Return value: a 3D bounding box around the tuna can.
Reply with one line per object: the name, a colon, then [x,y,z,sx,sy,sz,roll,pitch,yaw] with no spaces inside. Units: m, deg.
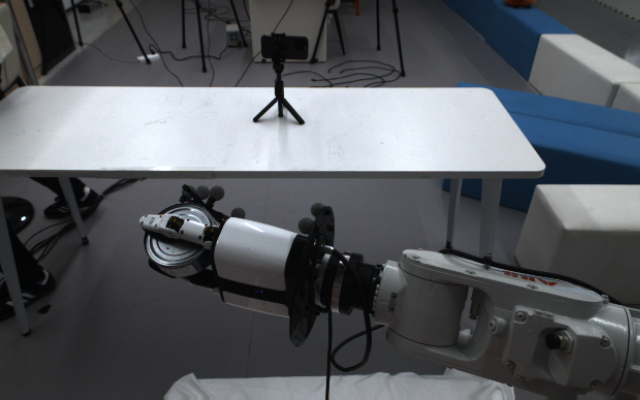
tuna can: [-0.162,0.048,0.580,0.085,0.034,0.085,-4,56,6]
